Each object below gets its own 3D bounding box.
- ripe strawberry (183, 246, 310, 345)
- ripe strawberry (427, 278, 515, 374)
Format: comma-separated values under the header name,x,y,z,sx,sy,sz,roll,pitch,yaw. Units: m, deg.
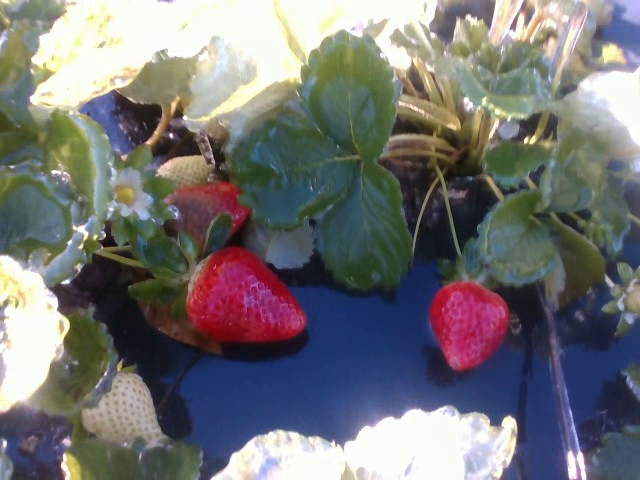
name,x,y,z,sx,sy,sz,roll,pitch,yaw
ripe strawberry,-0.030,0.027,0.269,0.056,0.044,0.040,31,-16,0
ripe strawberry,0.064,0.037,0.266,0.039,0.047,0.040,20,-26,-4
